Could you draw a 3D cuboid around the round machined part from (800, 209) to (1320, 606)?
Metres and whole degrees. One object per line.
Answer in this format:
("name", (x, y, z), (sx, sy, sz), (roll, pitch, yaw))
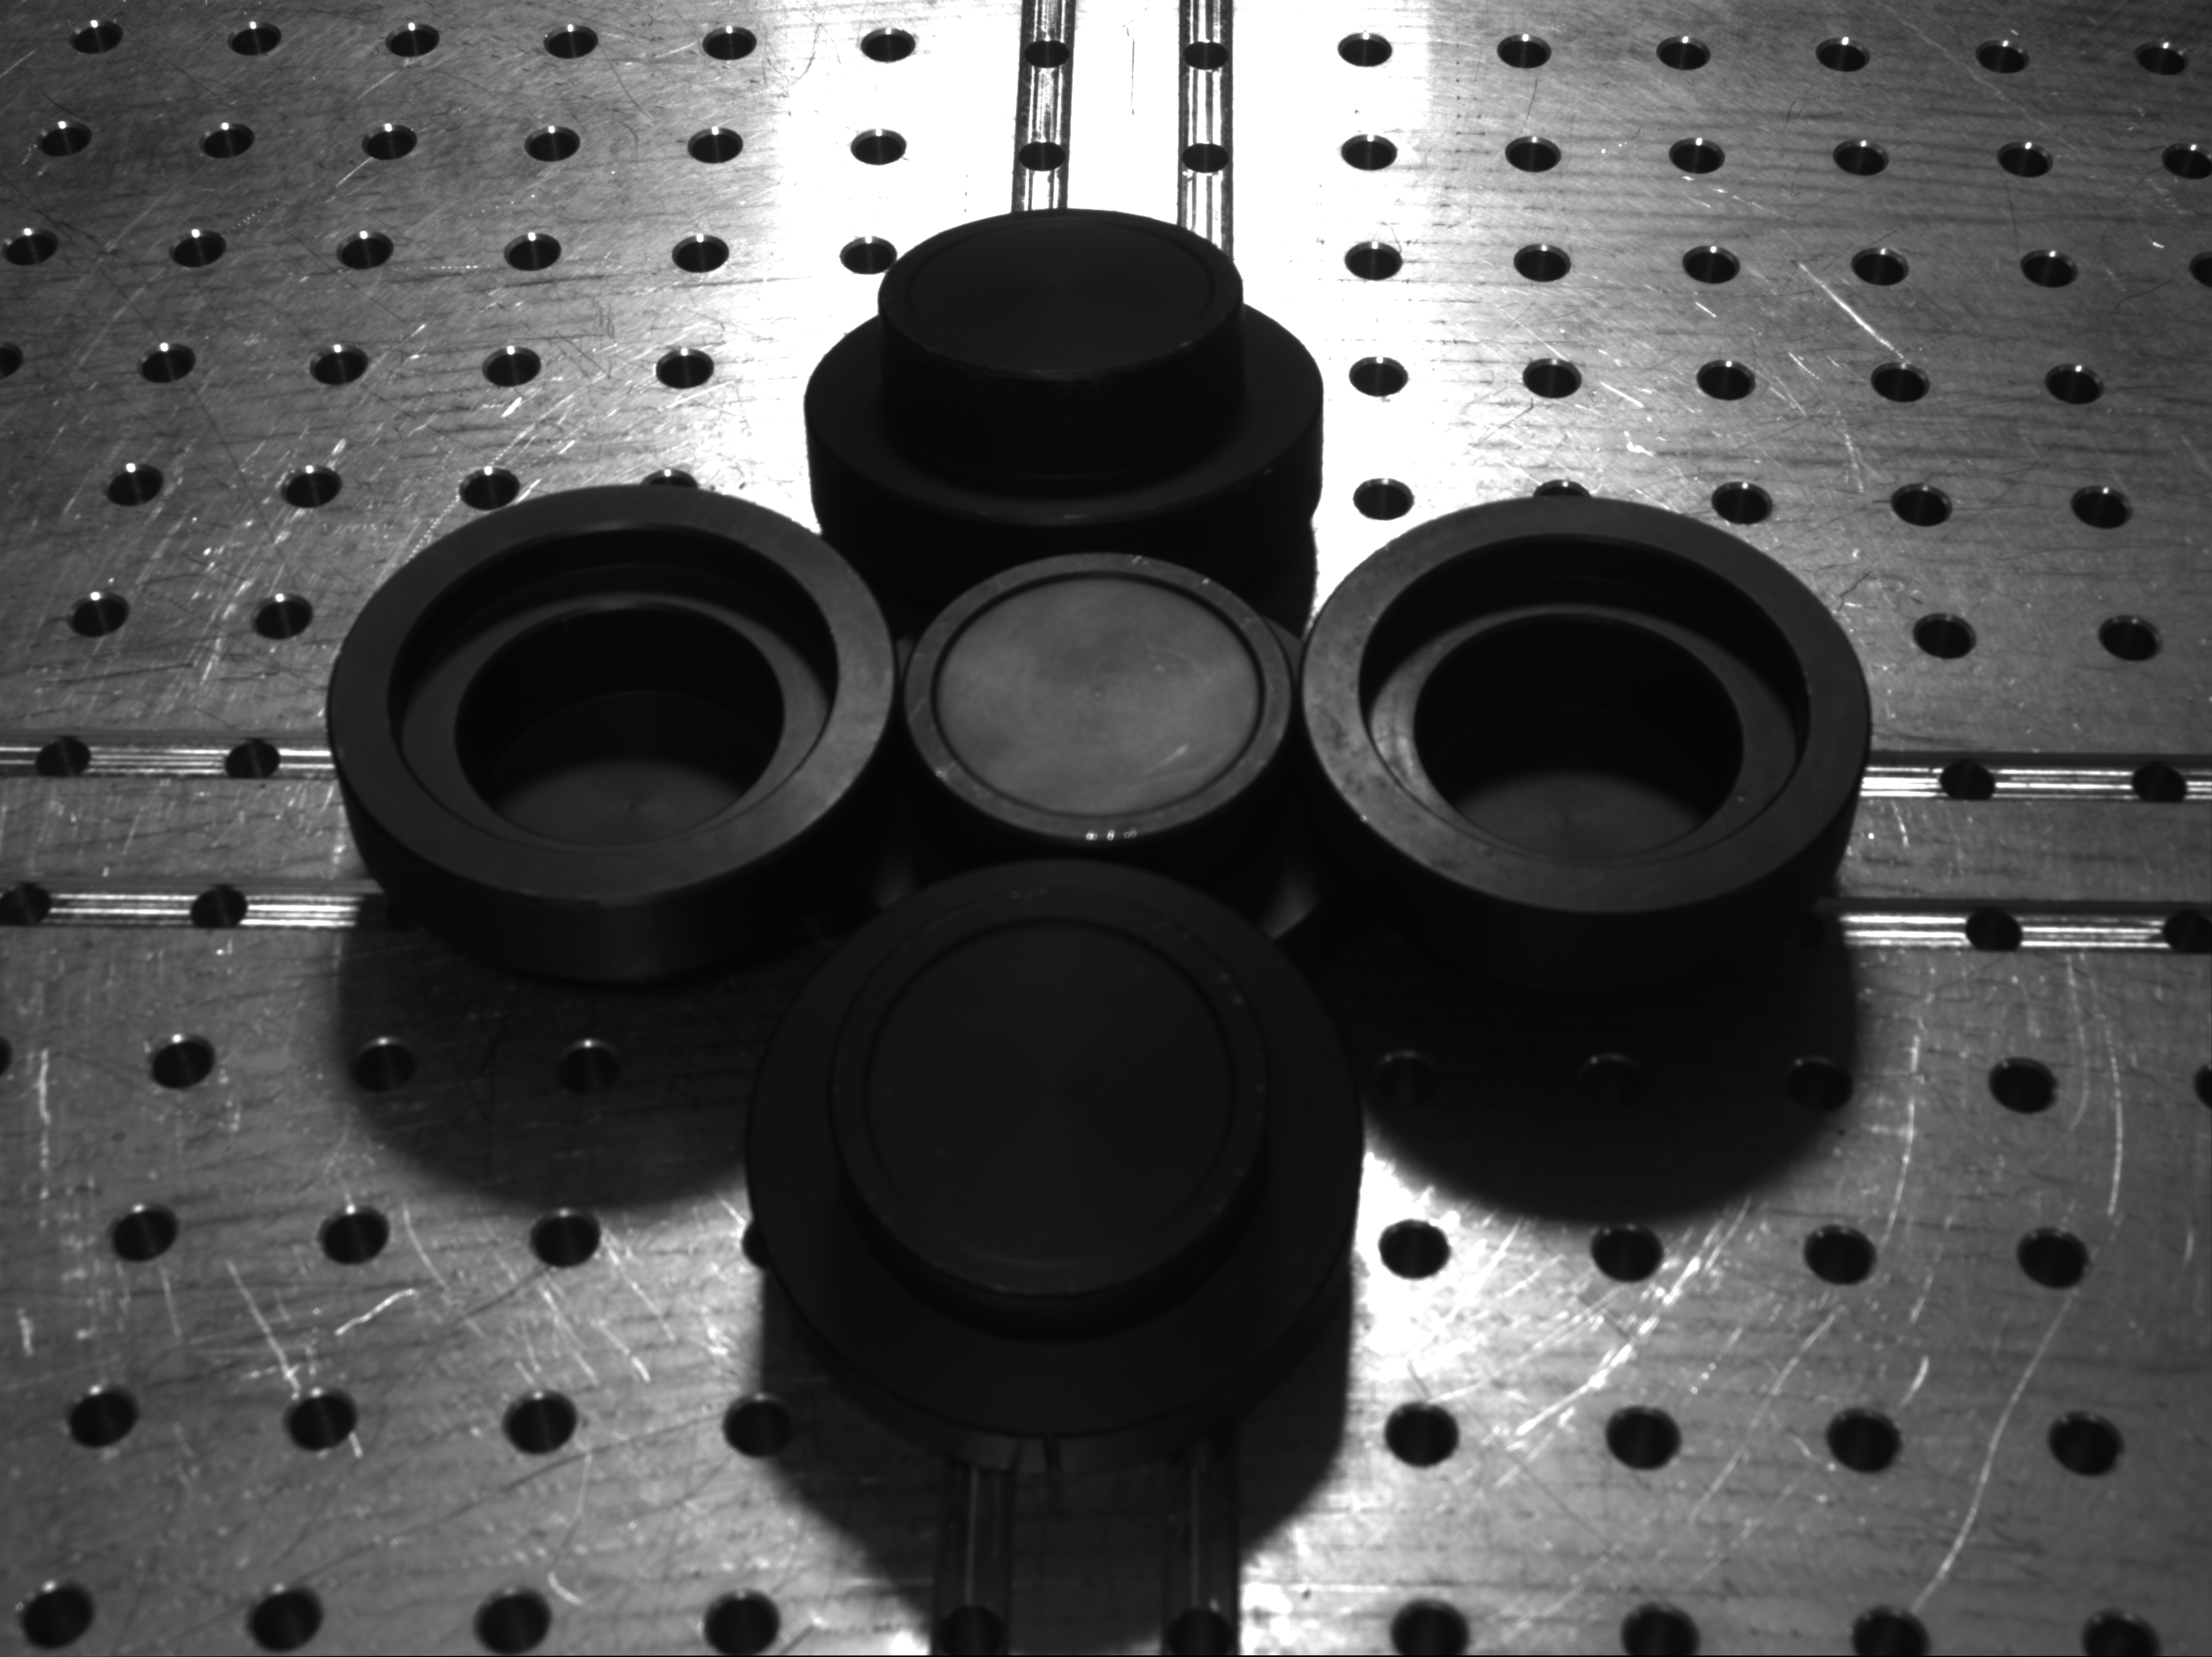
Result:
("round machined part", (-0.009, -0.083, 0.689), (0.098, 0.042, 0.098), (-1, 35, 1))

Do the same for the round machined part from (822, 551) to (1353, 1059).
("round machined part", (-0.002, -0.010, 0.641), (0.098, 0.042, 0.098), (0, 50, 0))

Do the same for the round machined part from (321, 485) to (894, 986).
("round machined part", (-0.085, -0.011, 0.643), (0.098, 0.042, 0.098), (0, 50, 0))

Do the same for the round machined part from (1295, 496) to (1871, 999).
("round machined part", (0.082, -0.009, 0.642), (0.098, 0.042, 0.098), (0, 50, 0))

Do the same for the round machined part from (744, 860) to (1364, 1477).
("round machined part", (-0.008, 0.049, 0.577), (0.098, 0.042, 0.098), (0, 64, 0))
